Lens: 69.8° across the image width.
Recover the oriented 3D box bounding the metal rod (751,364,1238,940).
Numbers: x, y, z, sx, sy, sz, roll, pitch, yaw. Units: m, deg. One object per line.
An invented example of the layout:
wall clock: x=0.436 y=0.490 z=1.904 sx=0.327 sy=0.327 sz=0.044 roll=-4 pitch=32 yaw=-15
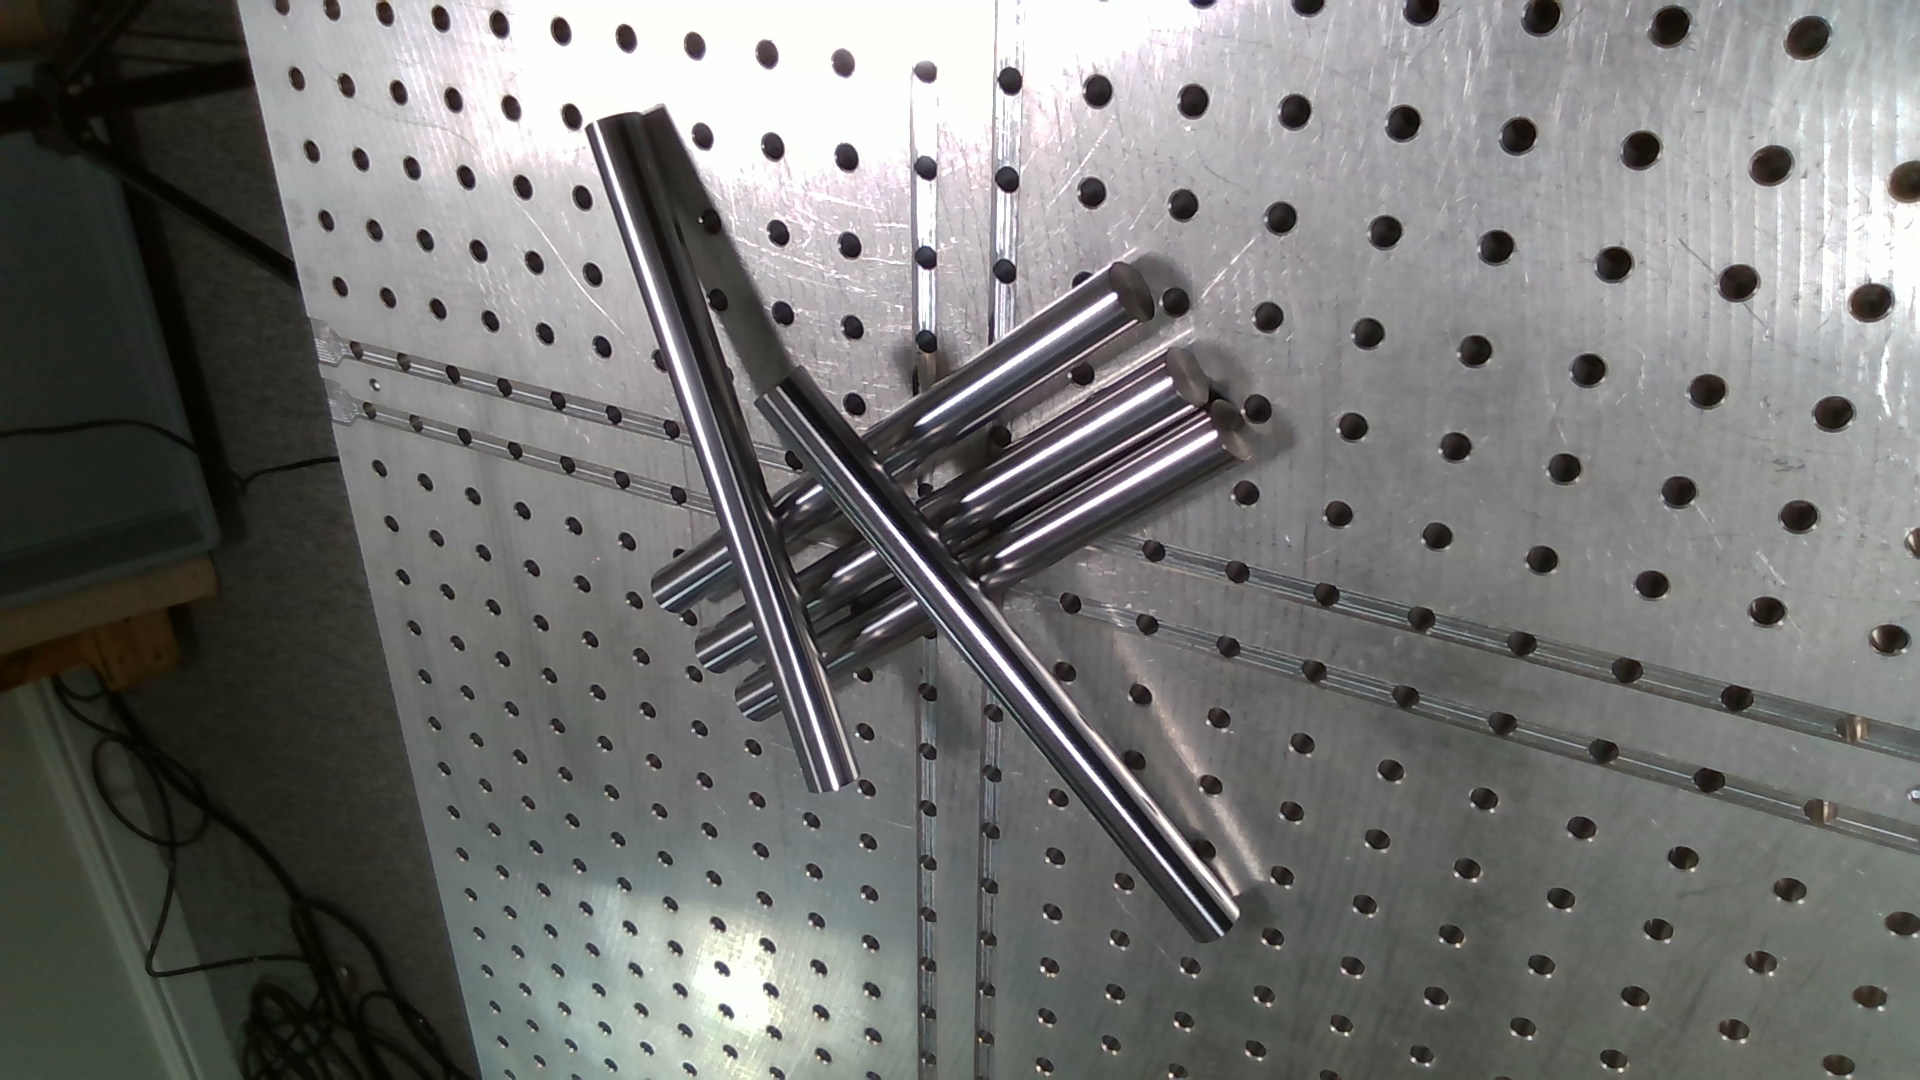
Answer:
metal rod: x=0.020 y=0.053 z=0.573 sx=0.025 sy=0.025 sz=0.300 roll=-29 pitch=106 yaw=39

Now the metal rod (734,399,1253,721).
metal rod: x=-0.002 y=0.019 z=0.594 sx=0.300 sy=0.025 sz=0.025 roll=-31 pitch=97 yaw=39

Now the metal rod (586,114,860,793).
metal rod: x=-0.101 y=-0.033 z=0.600 sx=0.025 sy=0.025 sz=0.300 roll=-11 pitch=101 yaw=35

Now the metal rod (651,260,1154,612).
metal rod: x=-0.041 y=-0.033 z=0.590 sx=0.300 sy=0.025 sz=0.025 roll=-29 pitch=98 yaw=39

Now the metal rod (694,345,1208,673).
metal rod: x=-0.020 y=-0.003 z=0.593 sx=0.300 sy=0.025 sz=0.025 roll=-29 pitch=98 yaw=39
